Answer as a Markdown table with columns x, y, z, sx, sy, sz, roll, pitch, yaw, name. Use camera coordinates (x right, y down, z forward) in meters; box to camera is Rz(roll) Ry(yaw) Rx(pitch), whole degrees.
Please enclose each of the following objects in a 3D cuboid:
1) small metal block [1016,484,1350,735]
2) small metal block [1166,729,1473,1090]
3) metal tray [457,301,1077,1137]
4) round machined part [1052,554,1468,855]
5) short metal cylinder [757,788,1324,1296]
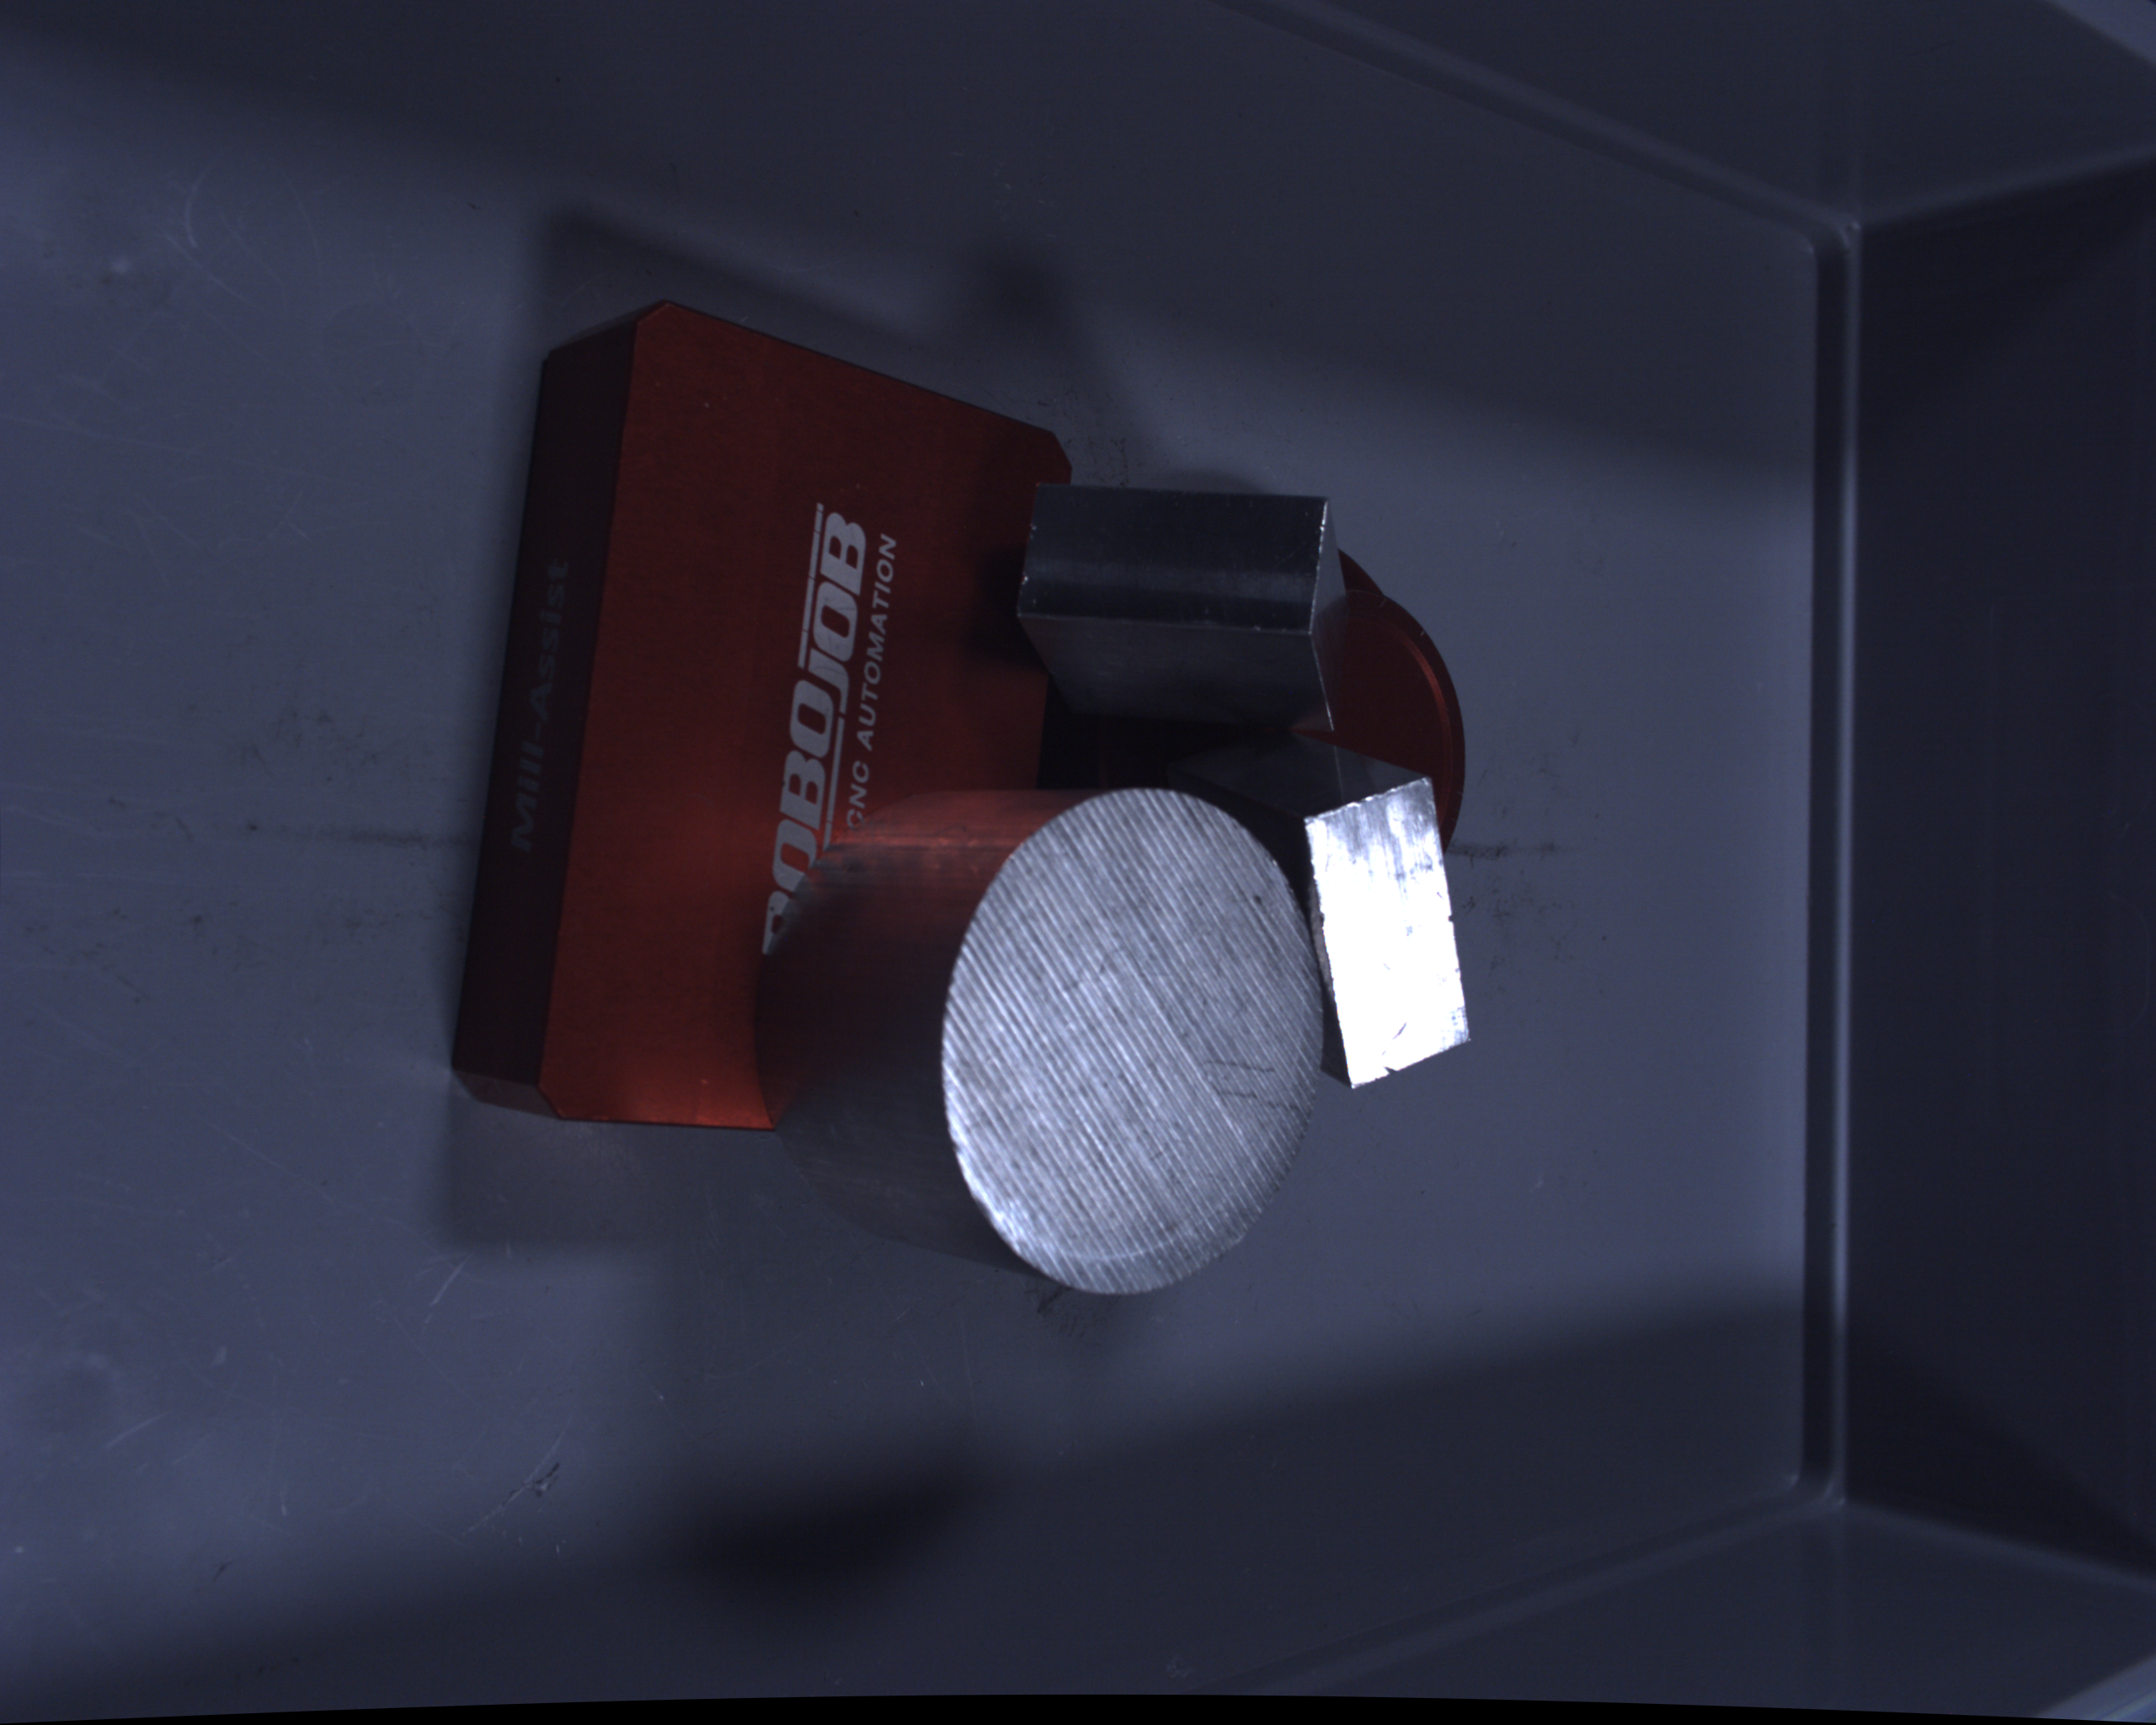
| x | y | z | sx | sy | sz | roll | pitch | yaw | name |
| --- | --- | --- | --- | --- | --- | --- | --- | --- | --- |
| 0.021 | -0.045 | 0.374 | 0.050 | 0.050 | 0.025 | 54 | 43 | -71 | small metal block |
| 0.043 | 0.007 | 0.375 | 0.025 | 0.050 | 0.050 | -19 | 110 | -20 | small metal block |
| -0.050 | -0.019 | 0.358 | 0.091 | 0.030 | 0.129 | 10 | 84 | -40 | metal tray |
| 0.043 | -0.021 | 0.431 | 0.099 | 0.042 | 0.097 | 0 | 90 | -40 | round machined part |
| -0.005 | 0.028 | 0.347 | 0.081 | 0.050 | 0.079 | 0 | 90 | -40 | short metal cylinder |
